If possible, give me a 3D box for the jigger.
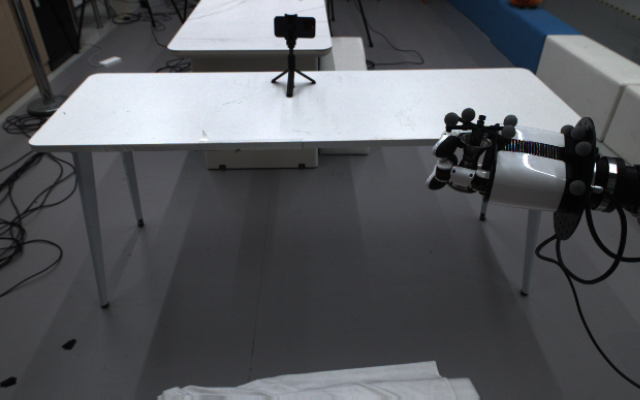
[{"bbox_3d":[0.203,-0.050,0.652,0.043,0.071,0.043,4,31,-2],"label":"jigger"}]
